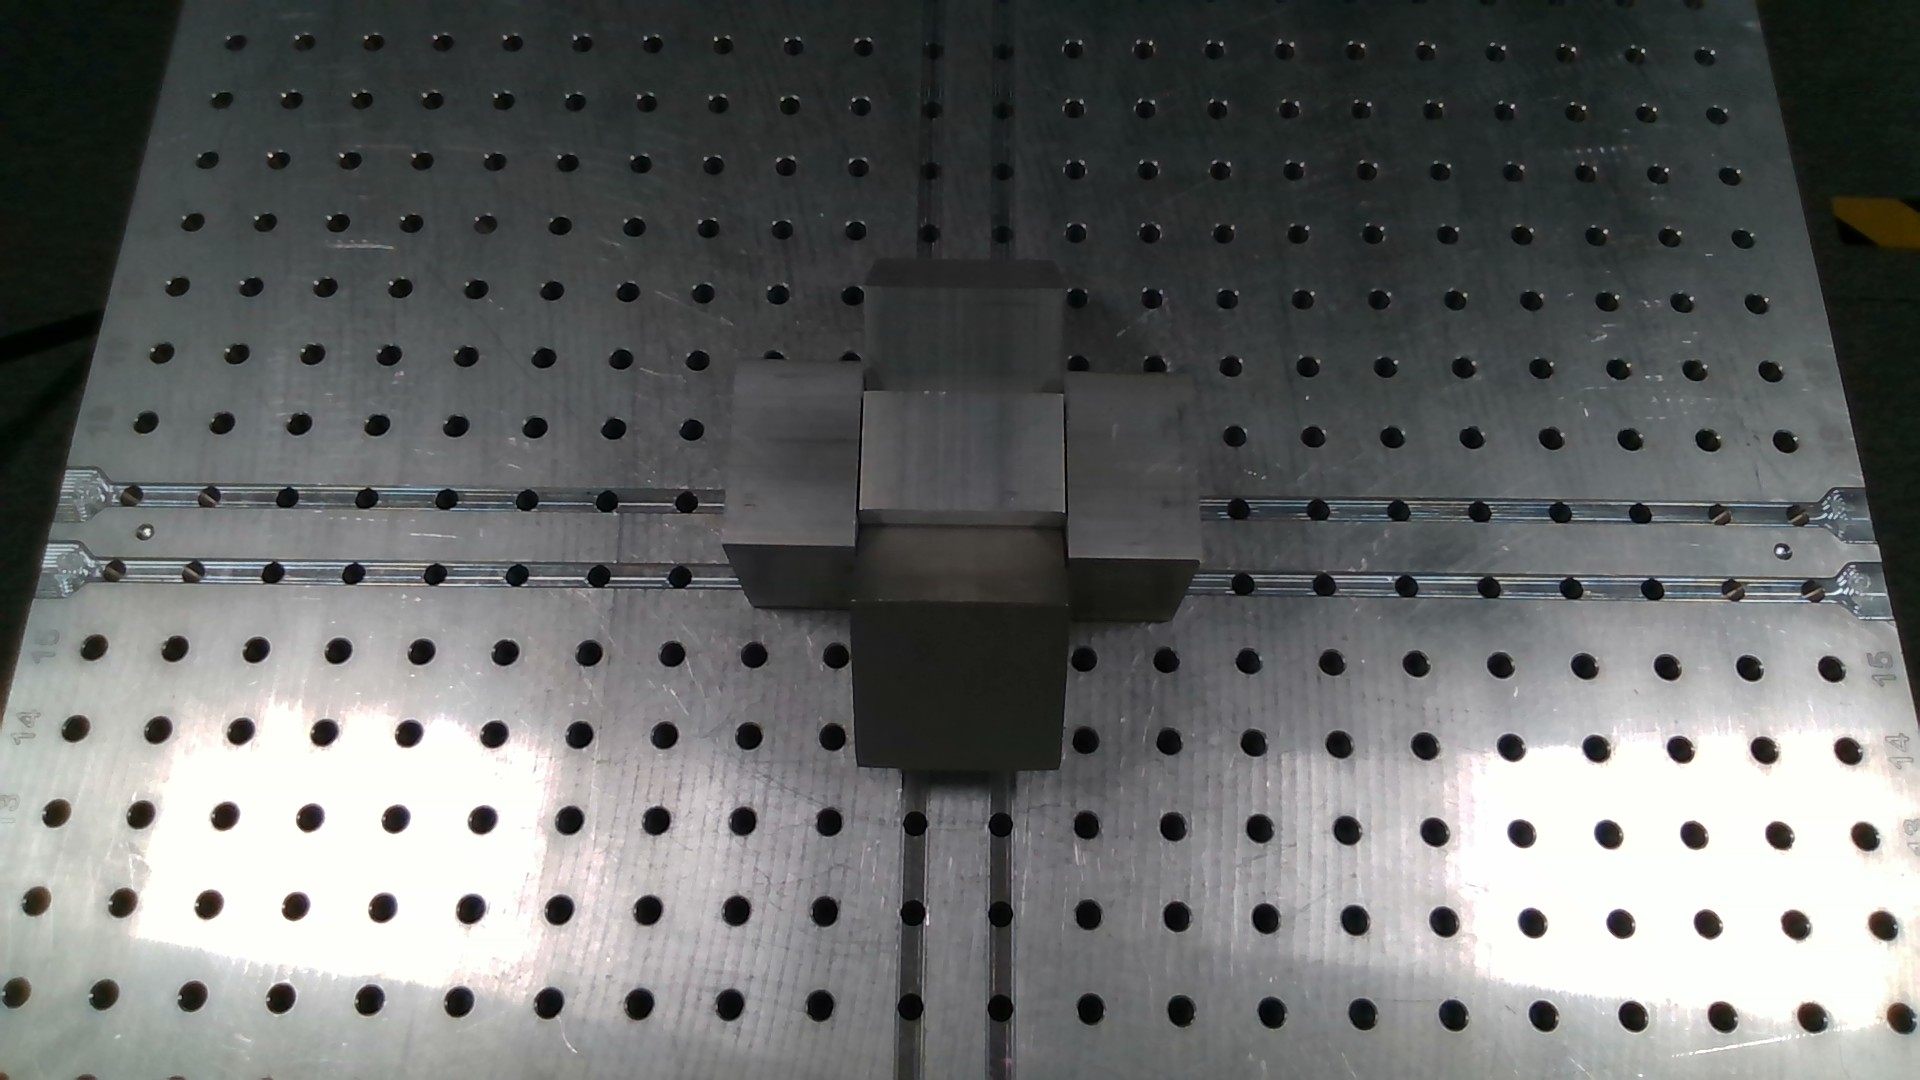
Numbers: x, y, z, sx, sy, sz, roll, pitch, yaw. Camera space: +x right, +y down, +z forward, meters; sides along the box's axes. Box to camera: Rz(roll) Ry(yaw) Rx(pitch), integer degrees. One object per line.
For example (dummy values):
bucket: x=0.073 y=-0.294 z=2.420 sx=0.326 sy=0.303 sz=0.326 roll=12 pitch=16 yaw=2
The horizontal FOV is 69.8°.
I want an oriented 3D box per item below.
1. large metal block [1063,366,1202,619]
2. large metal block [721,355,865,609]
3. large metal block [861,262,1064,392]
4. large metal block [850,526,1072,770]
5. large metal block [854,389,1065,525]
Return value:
large metal block: x=0.066 y=-0.017 z=0.566 sx=0.050 sy=0.080 sz=0.080 roll=1 pitch=70 yaw=0
large metal block: x=-0.064 y=-0.022 z=0.568 sx=0.050 sy=0.080 sz=0.080 roll=1 pitch=70 yaw=0
large metal block: x=0.002 y=-0.089 z=0.587 sx=0.080 sy=0.080 sz=0.050 roll=1 pitch=109 yaw=1
large metal block: x=0.000 y=0.042 z=0.537 sx=0.080 sy=0.080 sz=0.050 roll=1 pitch=33 yaw=0
large metal block: x=0.000 y=-0.021 z=0.568 sx=0.080 sy=0.080 sz=0.050 roll=1 pitch=70 yaw=0
